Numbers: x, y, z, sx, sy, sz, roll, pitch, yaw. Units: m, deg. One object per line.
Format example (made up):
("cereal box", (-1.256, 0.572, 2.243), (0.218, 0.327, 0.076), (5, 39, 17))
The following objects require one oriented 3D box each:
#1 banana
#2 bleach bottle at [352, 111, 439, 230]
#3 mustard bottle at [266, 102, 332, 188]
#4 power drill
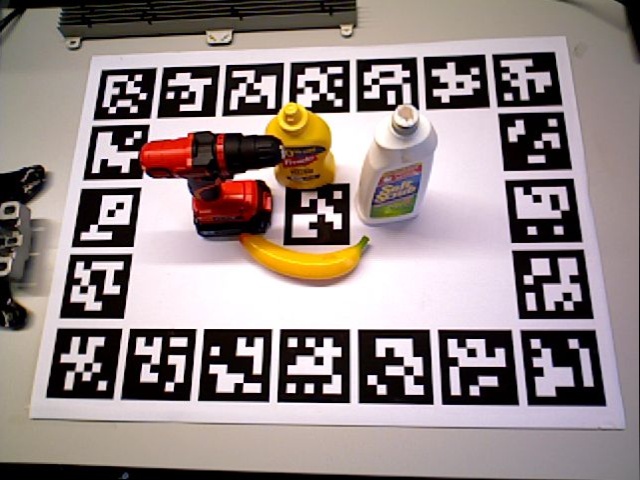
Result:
("banana", (-0.028, 0.024, 0.784), (0.197, 0.039, 0.074), (3, 77, 8))
("bleach bottle", (0.094, -0.087, 0.706), (0.102, 0.253, 0.067), (-7, 72, 1))
("mustard bottle", (-0.032, -0.136, 0.755), (0.096, 0.193, 0.058), (1, 71, 3))
("power drill", (-0.136, -0.085, 0.728), (0.184, 0.190, 0.057), (-2, 64, 1))
